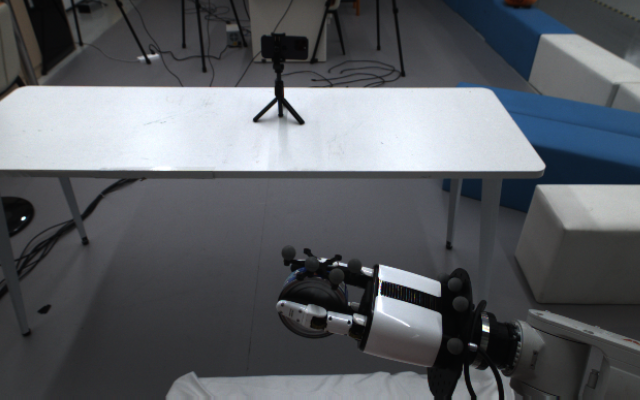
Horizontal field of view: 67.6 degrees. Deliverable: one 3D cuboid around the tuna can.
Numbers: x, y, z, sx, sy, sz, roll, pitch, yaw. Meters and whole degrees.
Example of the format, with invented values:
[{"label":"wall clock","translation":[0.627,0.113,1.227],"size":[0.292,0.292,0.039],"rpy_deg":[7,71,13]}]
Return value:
[{"label":"tuna can","translation":[-0.005,0.122,0.593],"size":[0.085,0.085,0.034],"rpy_deg":[5,18,4]}]
